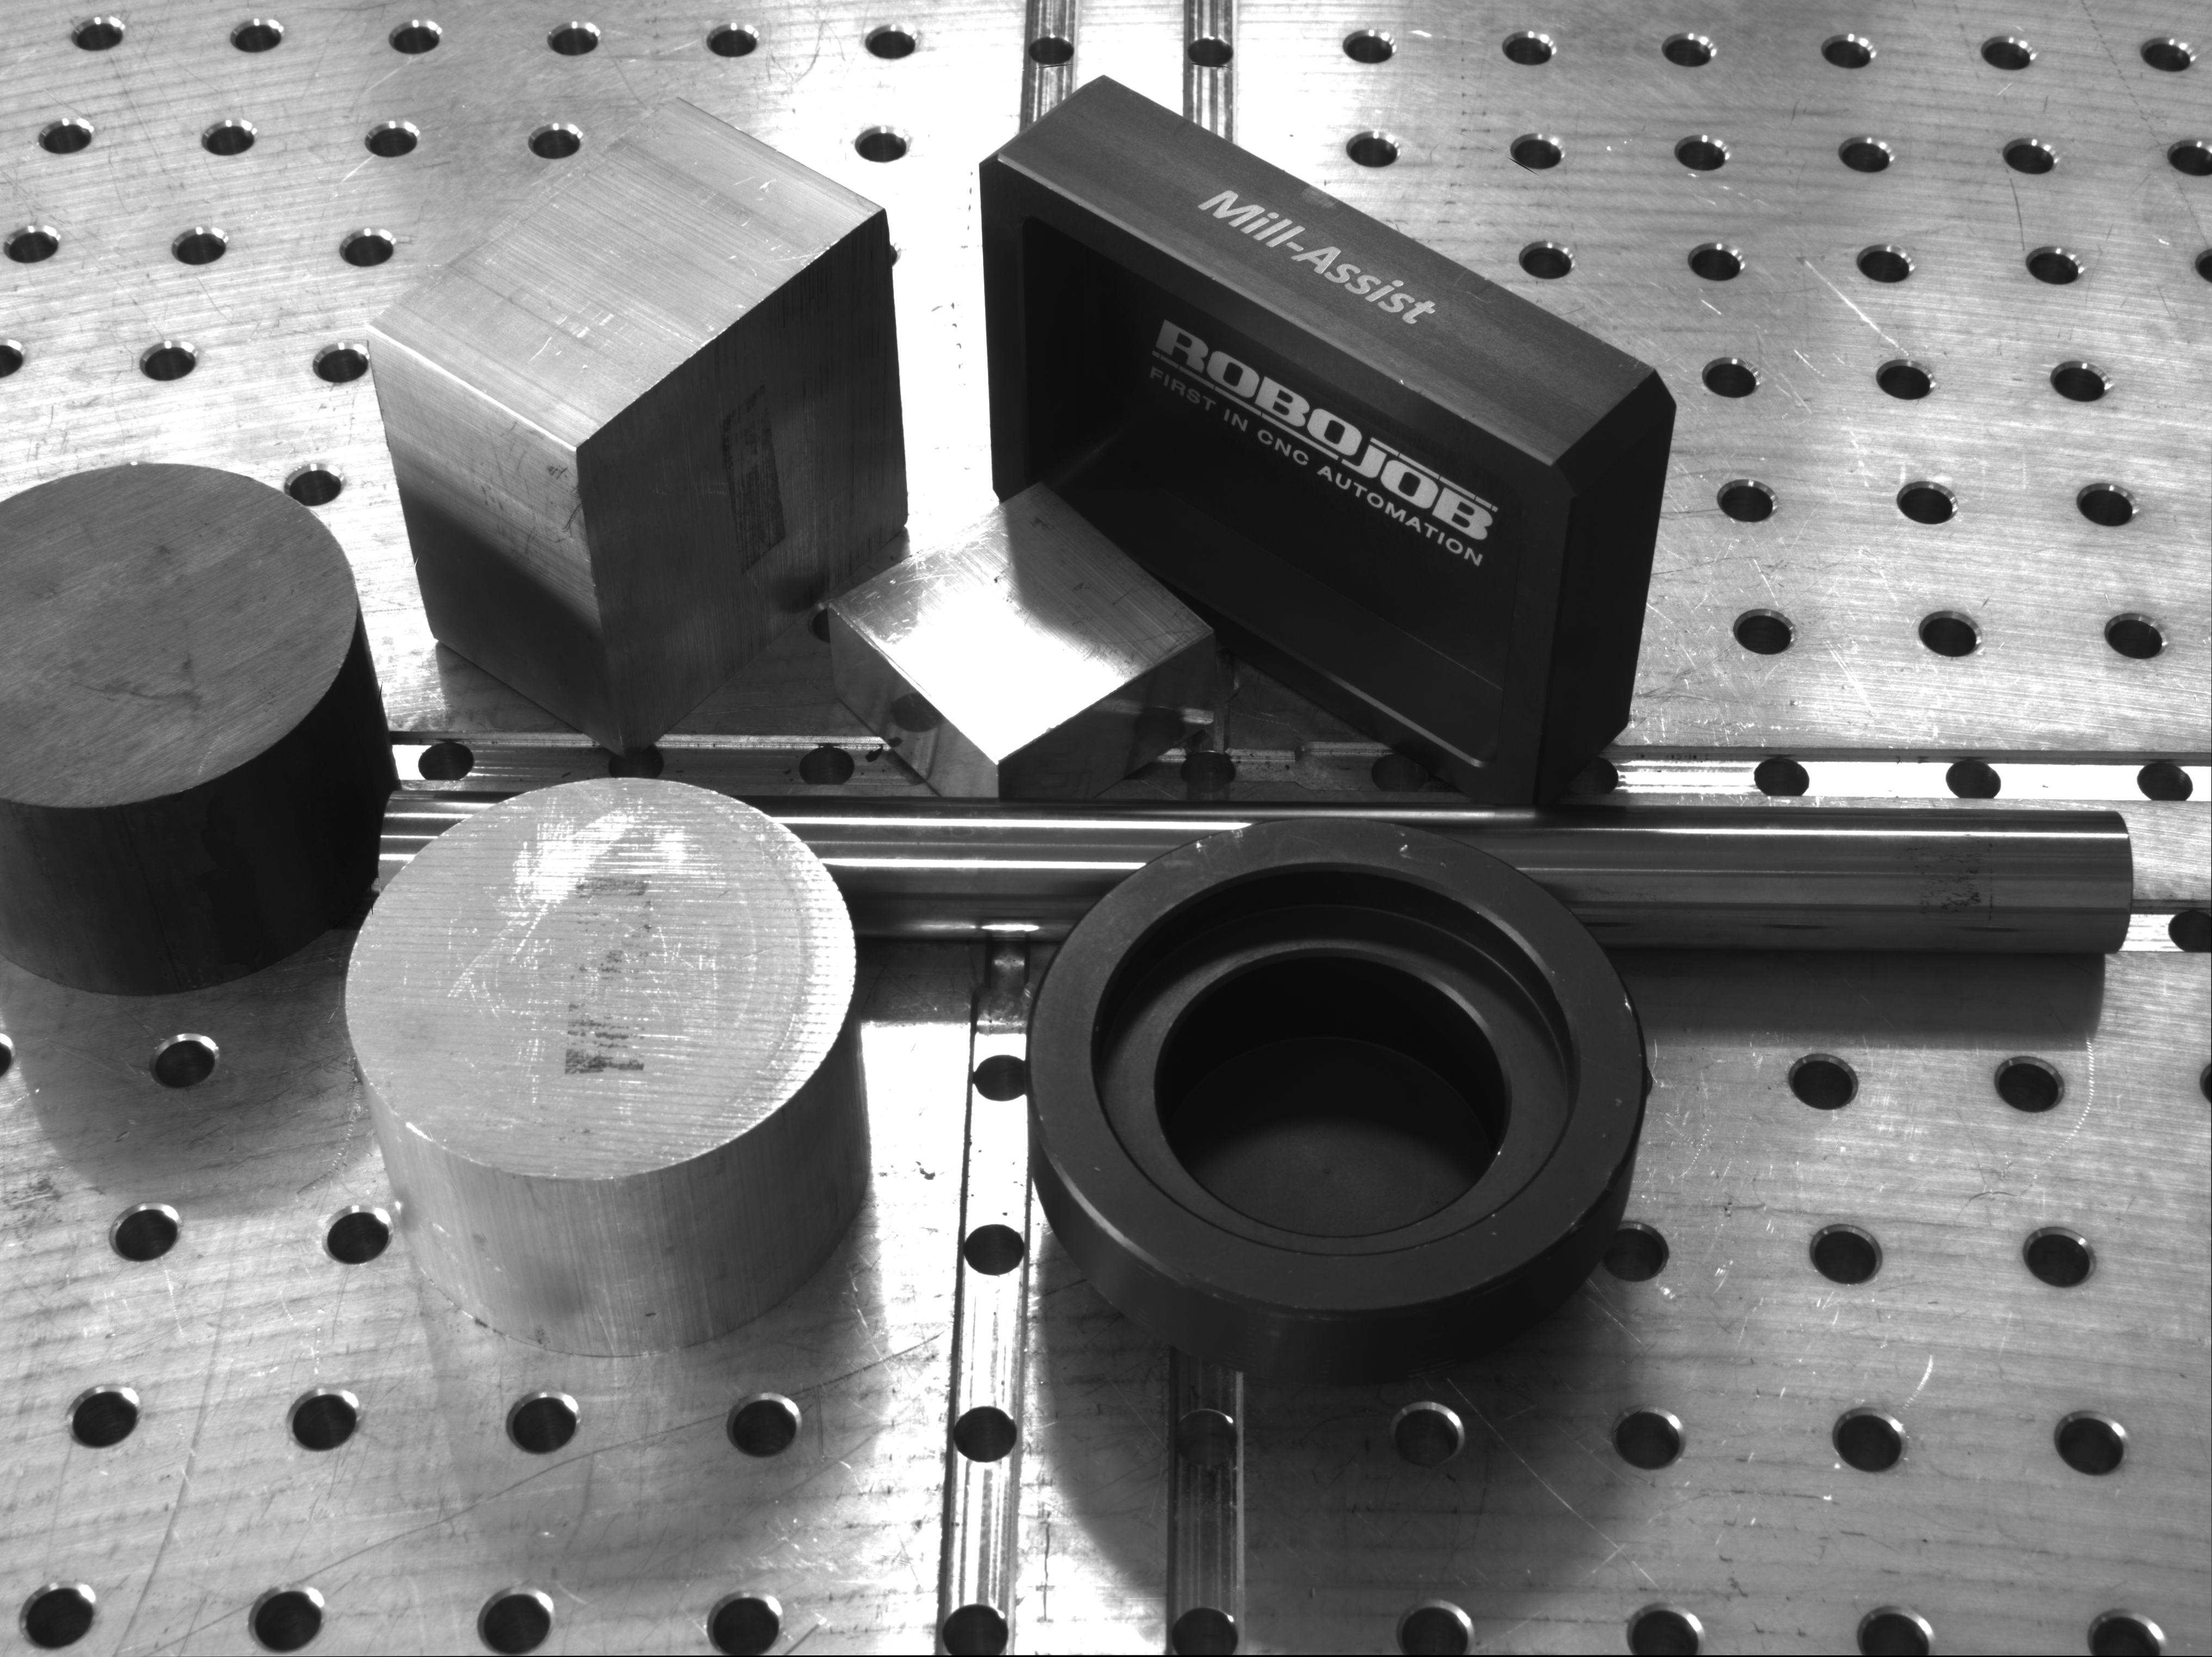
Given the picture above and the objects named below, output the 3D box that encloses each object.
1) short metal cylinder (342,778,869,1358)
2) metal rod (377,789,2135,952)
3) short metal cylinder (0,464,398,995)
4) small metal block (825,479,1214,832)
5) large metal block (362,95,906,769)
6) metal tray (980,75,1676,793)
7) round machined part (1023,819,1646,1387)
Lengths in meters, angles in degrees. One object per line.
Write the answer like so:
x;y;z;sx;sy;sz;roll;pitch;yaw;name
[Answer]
-0.080;0.038;0.595;0.080;0.050;0.080;0;50;0;short metal cylinder
0.026;0.007;0.639;0.300;0.025;0.025;1;50;0;metal rod
-0.168;-0.018;0.643;0.080;0.050;0.080;0;50;0;short metal cylinder
-0.016;-0.030;0.671;0.050;0.025;0.050;-32;57;-24;small metal block
-0.083;-0.072;0.670;0.050;0.080;0.080;32;57;23;large metal block
0.036;-0.068;0.660;0.130;0.090;0.030;33;57;25;metal tray
0.036;0.049;0.593;0.098;0.042;0.098;0;50;0;round machined part
